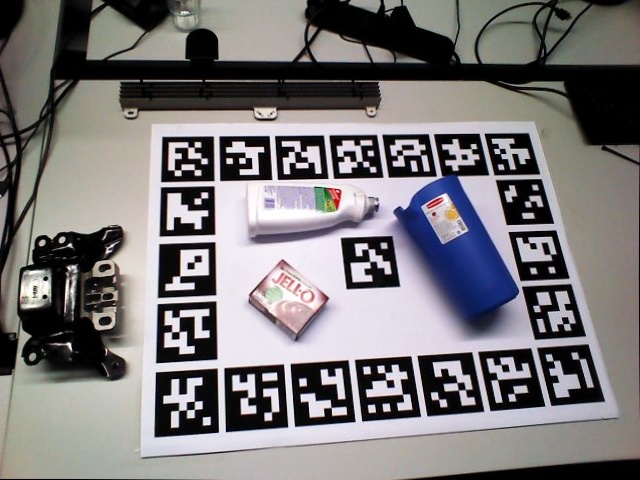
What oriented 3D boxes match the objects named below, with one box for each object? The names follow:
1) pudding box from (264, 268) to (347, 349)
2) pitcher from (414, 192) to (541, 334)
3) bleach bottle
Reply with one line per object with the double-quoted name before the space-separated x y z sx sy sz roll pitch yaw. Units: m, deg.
"pudding box" -0.026 0.117 0.889 0.114 0.039 0.089 41 64 8
"pitcher" 0.289 0.036 0.930 0.187 0.134 0.242 -15 73 -48
"bleach bottle" 0.021 -0.048 0.952 0.251 0.068 0.102 -4 73 -10
